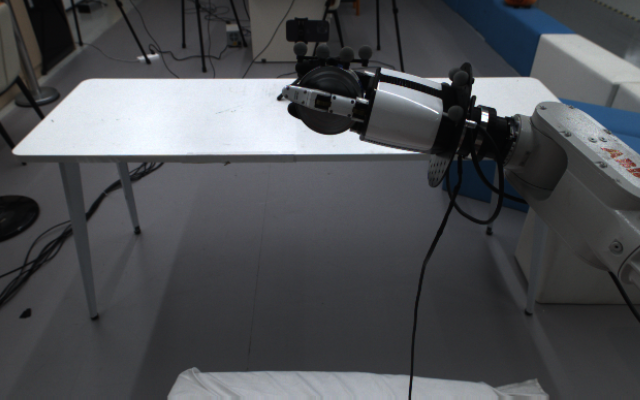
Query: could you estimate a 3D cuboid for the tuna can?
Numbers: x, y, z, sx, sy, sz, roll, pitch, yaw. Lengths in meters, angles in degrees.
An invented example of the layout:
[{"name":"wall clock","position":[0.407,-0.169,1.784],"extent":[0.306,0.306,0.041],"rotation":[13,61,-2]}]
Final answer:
[{"name":"tuna can","position":[0.014,-0.130,0.613],"extent":[0.085,0.085,0.034],"rotation":[6,22,6]}]
